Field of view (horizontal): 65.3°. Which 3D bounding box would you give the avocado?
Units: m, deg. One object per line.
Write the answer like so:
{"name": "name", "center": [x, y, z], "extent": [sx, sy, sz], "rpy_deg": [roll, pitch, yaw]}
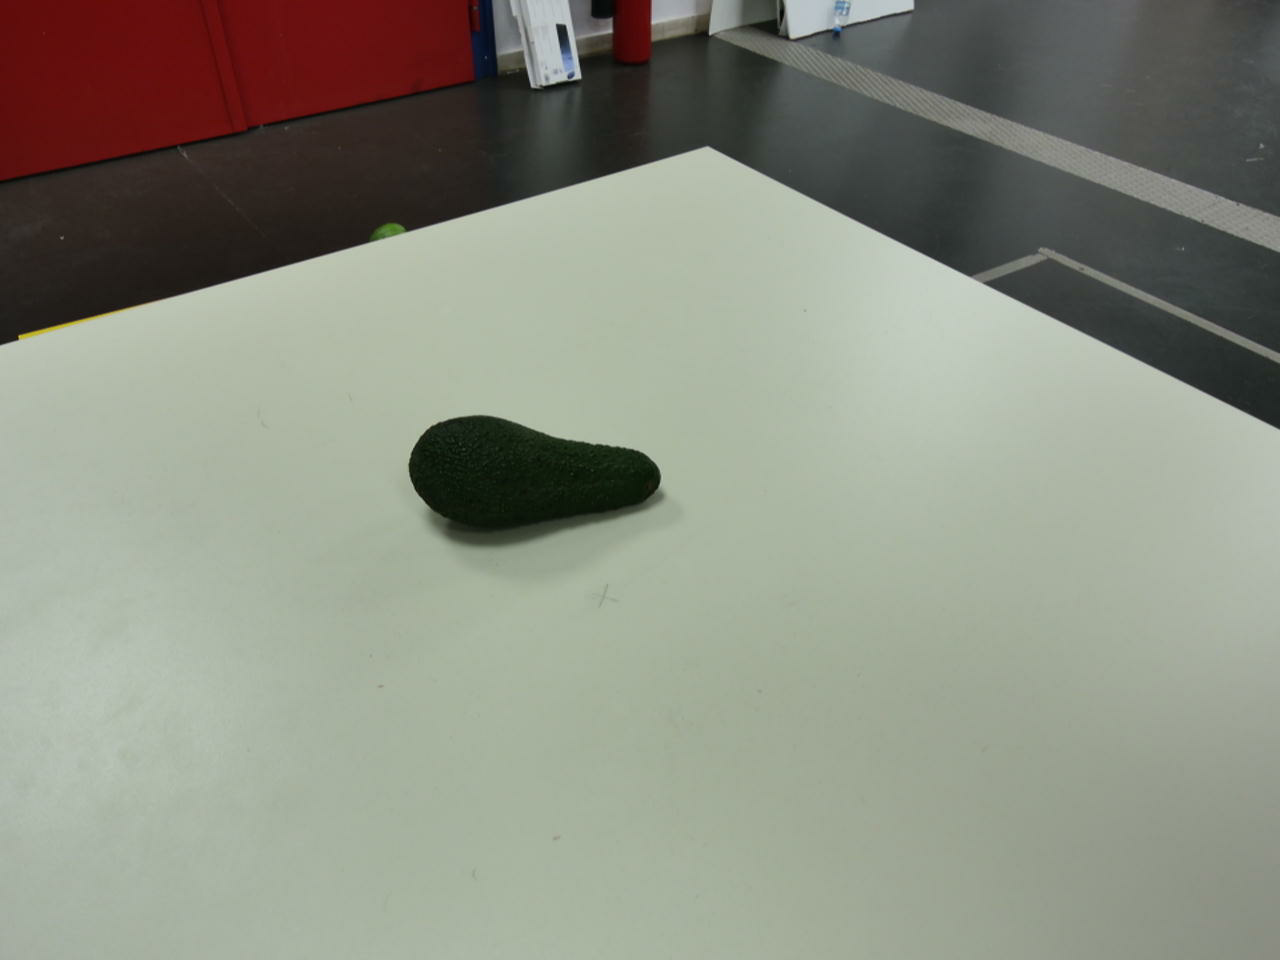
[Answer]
{"name": "avocado", "center": [-0.057, -0.012, 0.564], "extent": [0.141, 0.067, 0.063], "rpy_deg": [-13, 41, -18]}
